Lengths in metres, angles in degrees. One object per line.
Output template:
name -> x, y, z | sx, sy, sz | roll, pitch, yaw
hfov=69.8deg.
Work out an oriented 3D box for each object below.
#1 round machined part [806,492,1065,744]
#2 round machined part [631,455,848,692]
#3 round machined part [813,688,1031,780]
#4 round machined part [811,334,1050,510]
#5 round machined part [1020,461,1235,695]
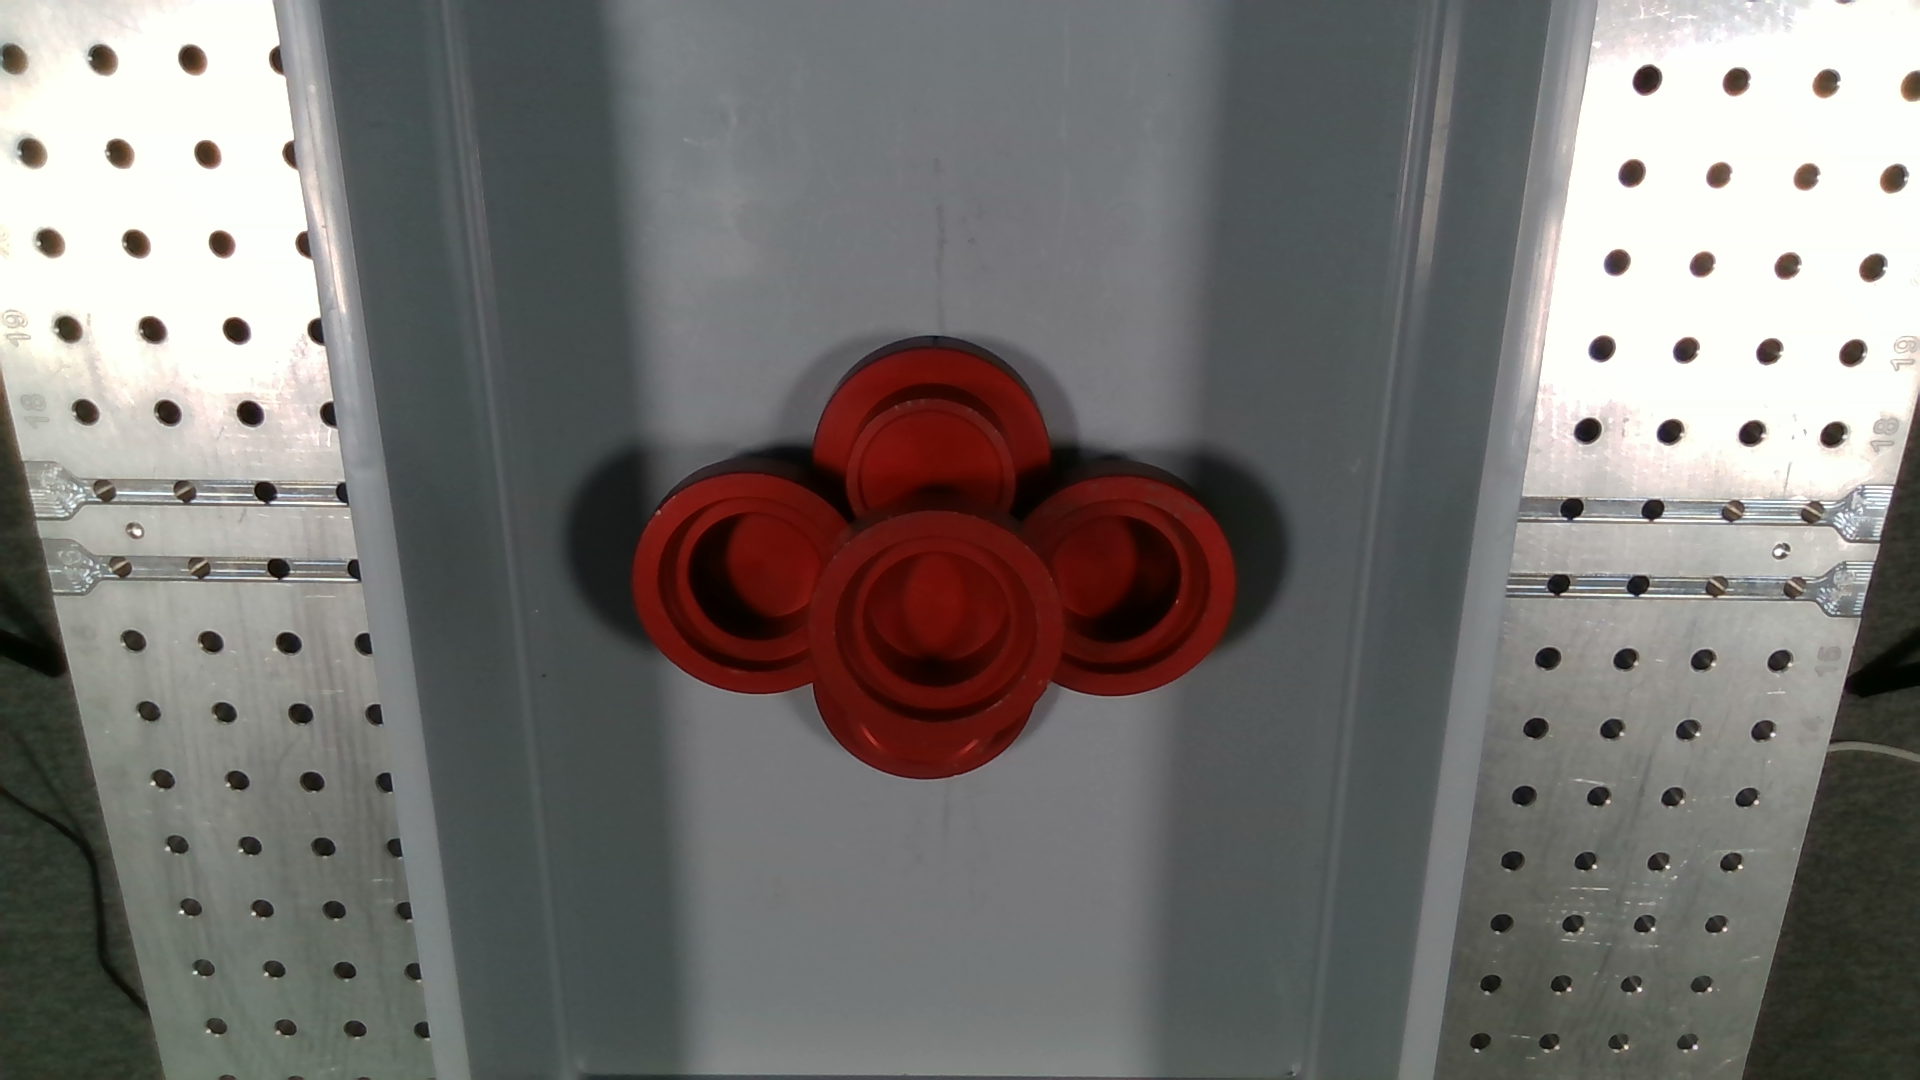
round machined part -> -0.009, 0.027, 0.539 | 0.098, 0.042, 0.098 | 0, 110, 0
round machined part -> -0.085, 0.011, 0.578 | 0.098, 0.042, 0.098 | 0, 110, 0
round machined part -> -0.015, 0.061, 0.596 | 0.098, 0.042, 0.098 | 0, 110, 0
round machined part -> -0.012, -0.032, 0.562 | 0.098, 0.042, 0.098 | 0, 110, 0
round machined part -> 0.063, 0.012, 0.578 | 0.098, 0.042, 0.098 | 0, 110, 0
